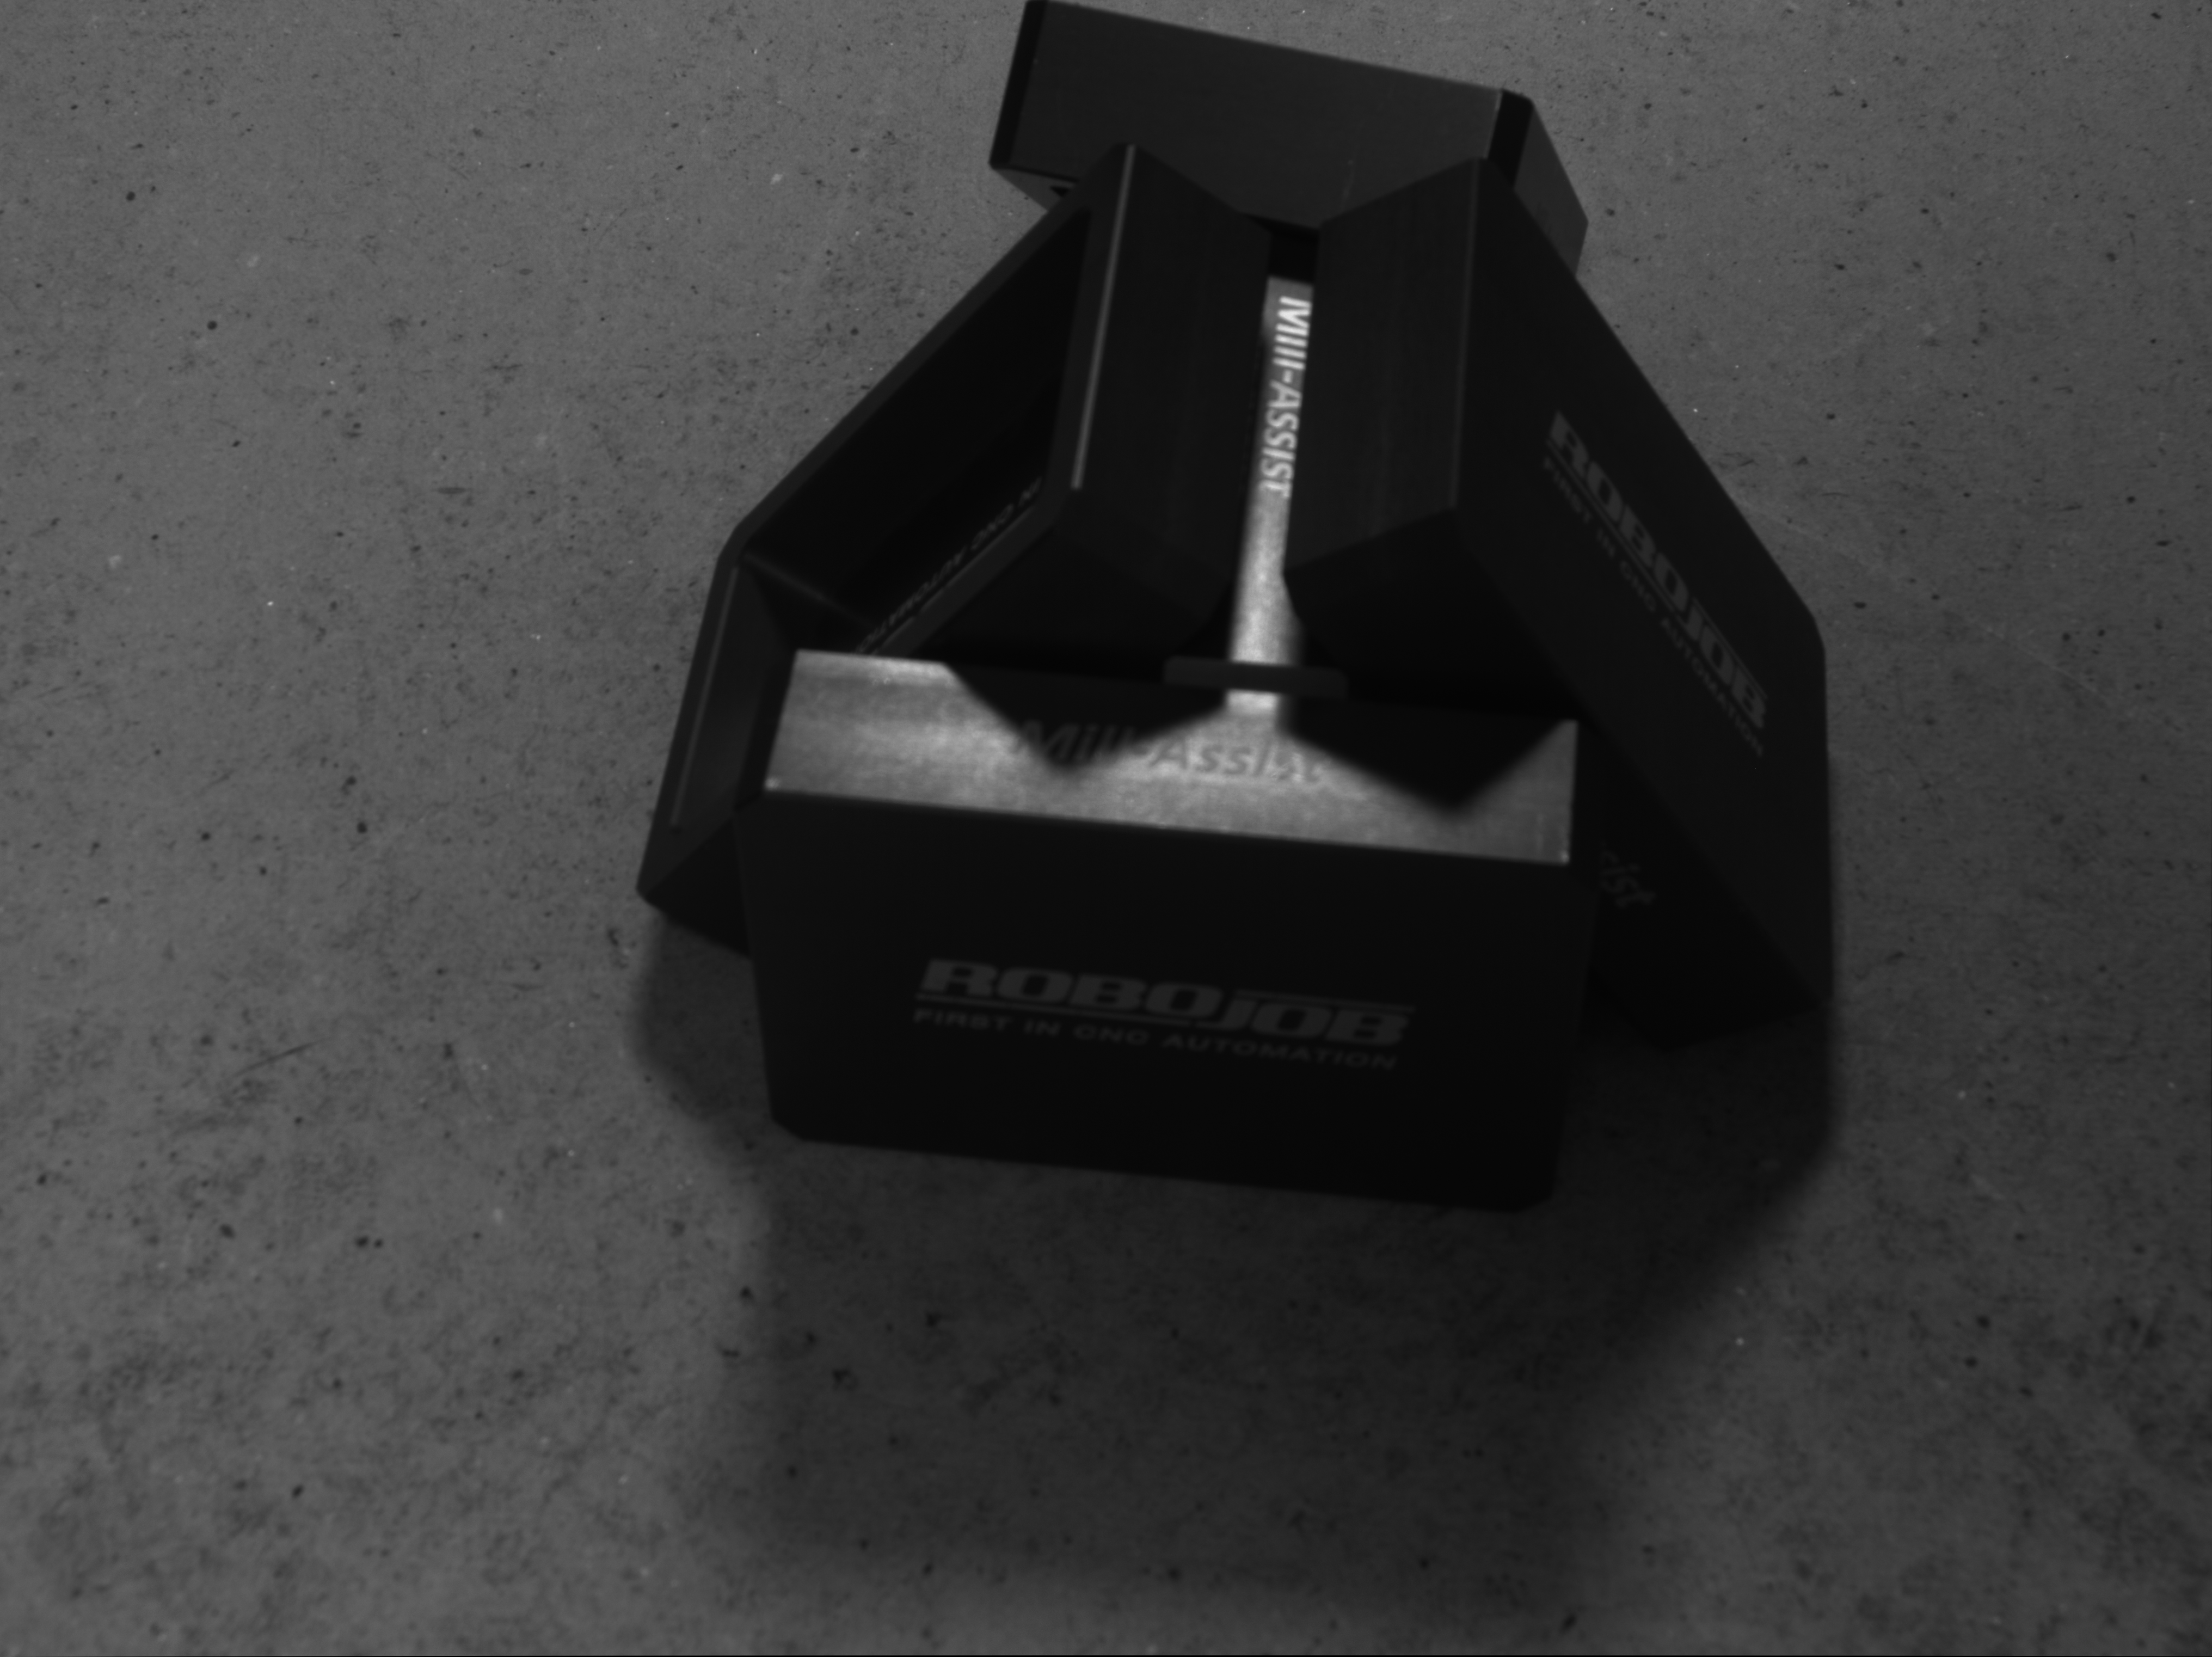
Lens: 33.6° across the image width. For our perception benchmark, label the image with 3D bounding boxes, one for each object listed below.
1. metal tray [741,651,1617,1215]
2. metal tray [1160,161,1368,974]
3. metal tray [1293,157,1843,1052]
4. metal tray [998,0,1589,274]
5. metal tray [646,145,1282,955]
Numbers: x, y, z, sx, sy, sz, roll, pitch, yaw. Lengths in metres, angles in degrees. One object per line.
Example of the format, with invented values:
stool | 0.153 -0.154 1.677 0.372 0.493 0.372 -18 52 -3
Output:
metal tray | 0.012 0.018 0.584 0.130 0.090 0.030 5 50 5
metal tray | 0.032 -0.043 0.635 0.030 0.090 0.130 6 50 5
metal tray | 0.080 -0.035 0.607 0.030 0.130 0.090 -19 43 29
metal tray | 0.039 -0.119 0.682 0.090 0.130 0.030 14 92 11
metal tray | -0.025 -0.043 0.615 0.030 0.130 0.090 29 46 -23
